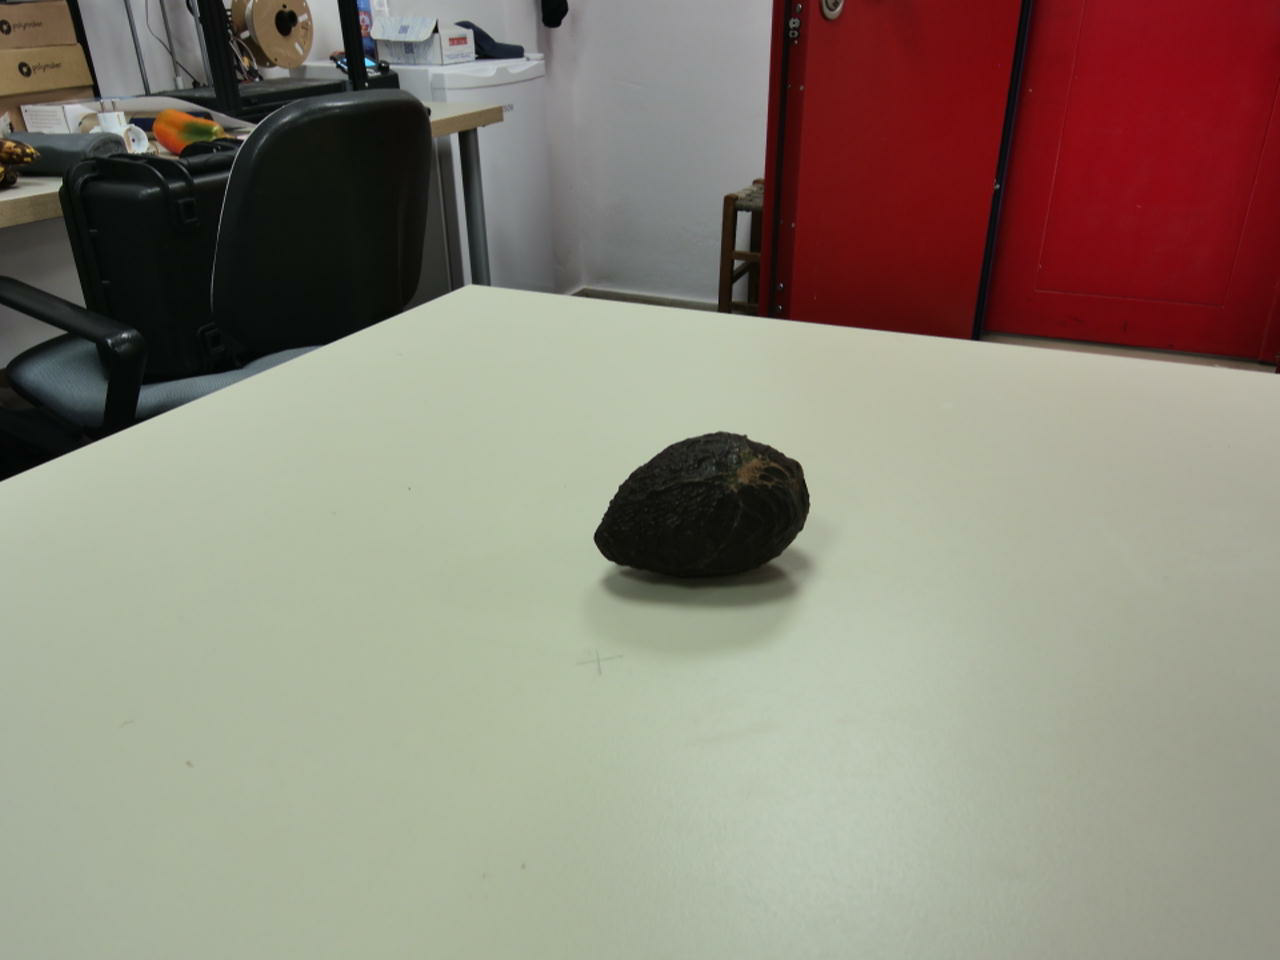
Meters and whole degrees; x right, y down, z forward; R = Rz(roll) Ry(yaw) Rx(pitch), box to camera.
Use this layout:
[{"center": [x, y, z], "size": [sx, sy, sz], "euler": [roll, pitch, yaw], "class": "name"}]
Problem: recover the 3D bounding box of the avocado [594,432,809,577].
[{"center": [0.027, 0.011, 0.434], "size": [0.092, 0.062, 0.062], "euler": [1, 24, 2], "class": "avocado"}]
